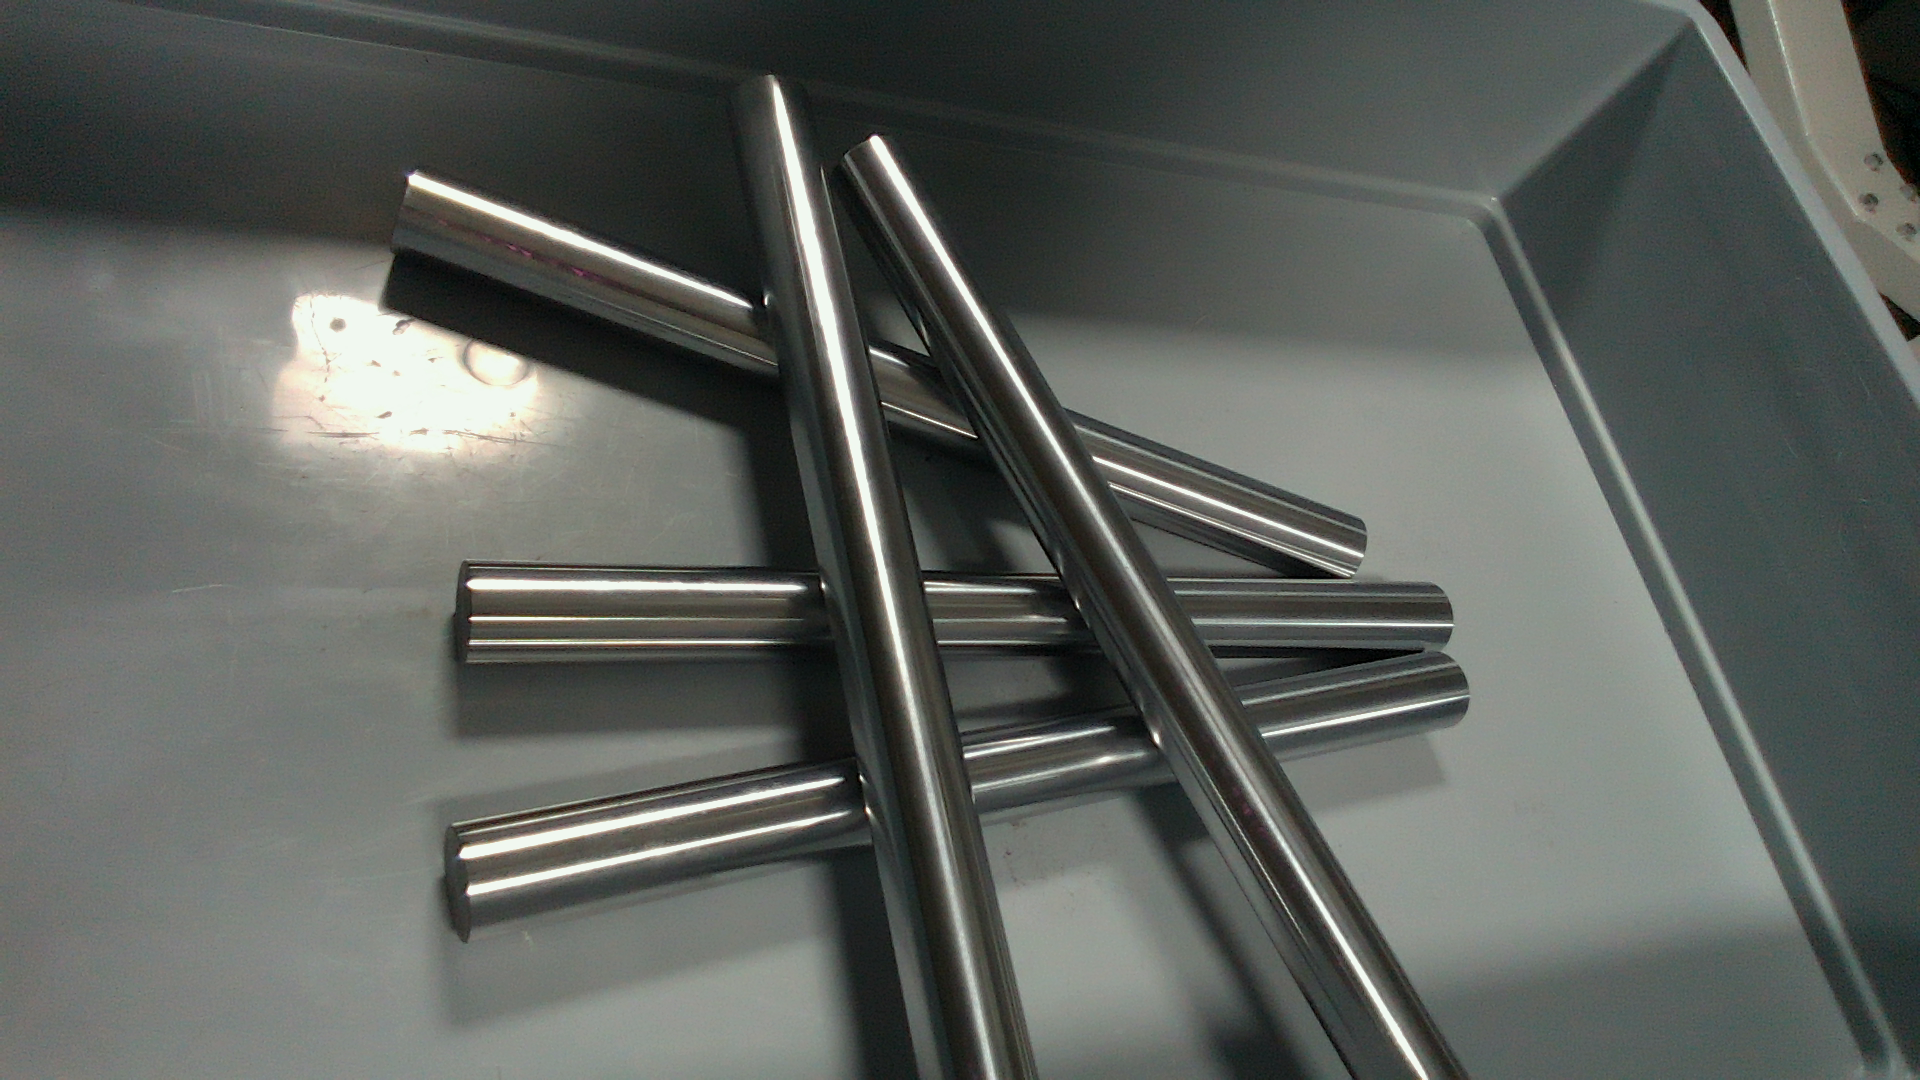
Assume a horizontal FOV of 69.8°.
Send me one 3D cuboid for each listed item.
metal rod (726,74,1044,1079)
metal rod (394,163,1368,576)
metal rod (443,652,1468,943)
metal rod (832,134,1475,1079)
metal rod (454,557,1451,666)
[{"bbox_3d":[-0.023,0.005,0.340,0.025,0.025,0.300,0,62,-28],"label":"metal rod"},{"bbox_3d":[-0.009,-0.042,0.408,0.301,0.025,0.025,19,54,-17],"label":"metal rod"},{"bbox_3d":[0.023,0.060,0.364,0.301,0.025,0.025,-5,64,-31],"label":"metal rod"},{"bbox_3d":[0.044,0.014,0.371,0.025,0.025,0.300,-19,72,-35],"label":"metal rod"},{"bbox_3d":[0.019,0.021,0.385,0.301,0.025,0.025,2,61,-27],"label":"metal rod"}]
